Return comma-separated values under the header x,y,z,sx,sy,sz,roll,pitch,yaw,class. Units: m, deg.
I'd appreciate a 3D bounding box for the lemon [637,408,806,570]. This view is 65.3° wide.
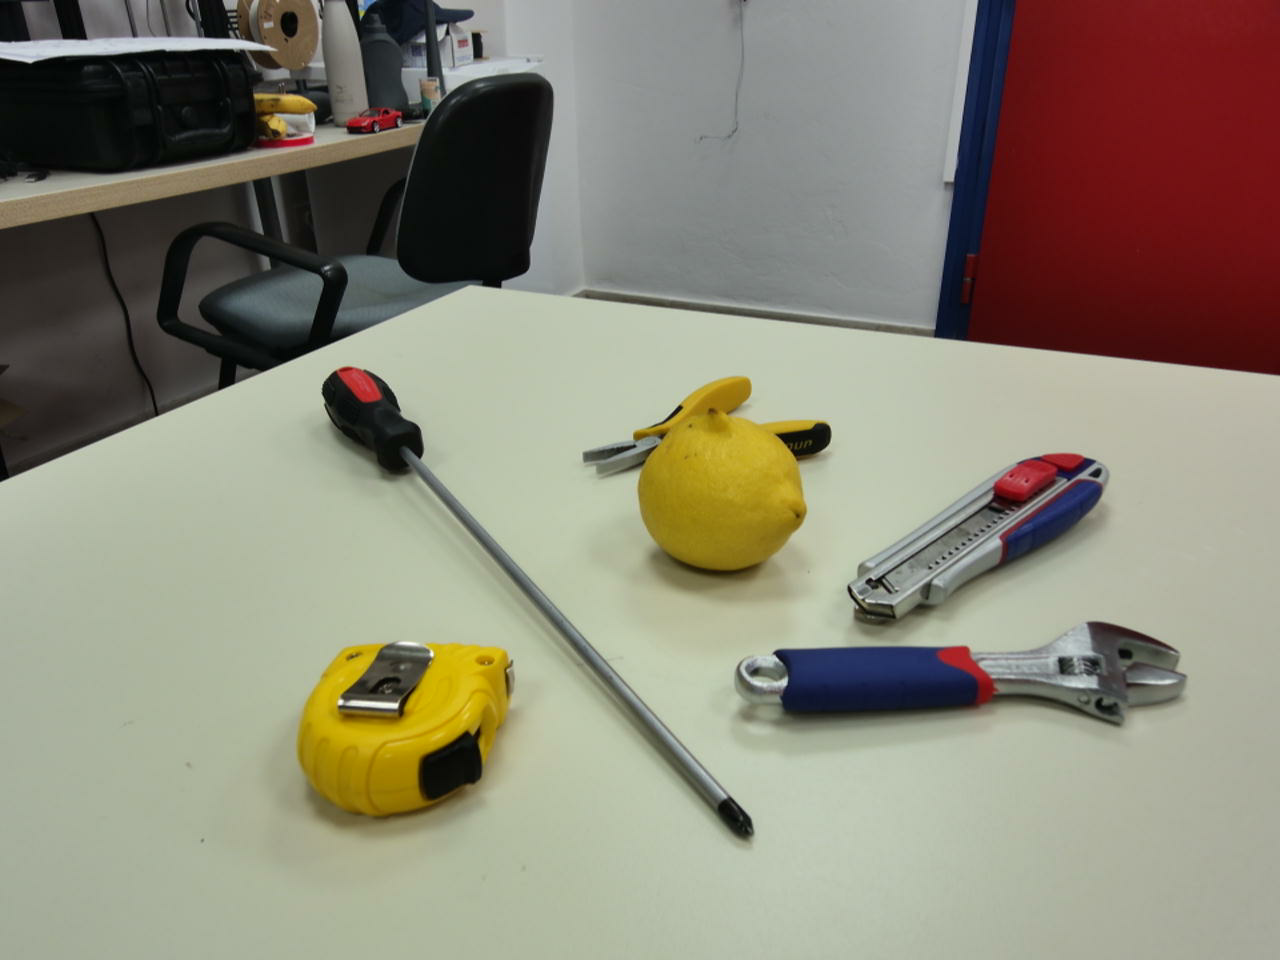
x,y,z,sx,sy,sz,roll,pitch,yaw,class
0.034,0.002,0.433,0.070,0.071,0.071,-4,24,-7,lemon
